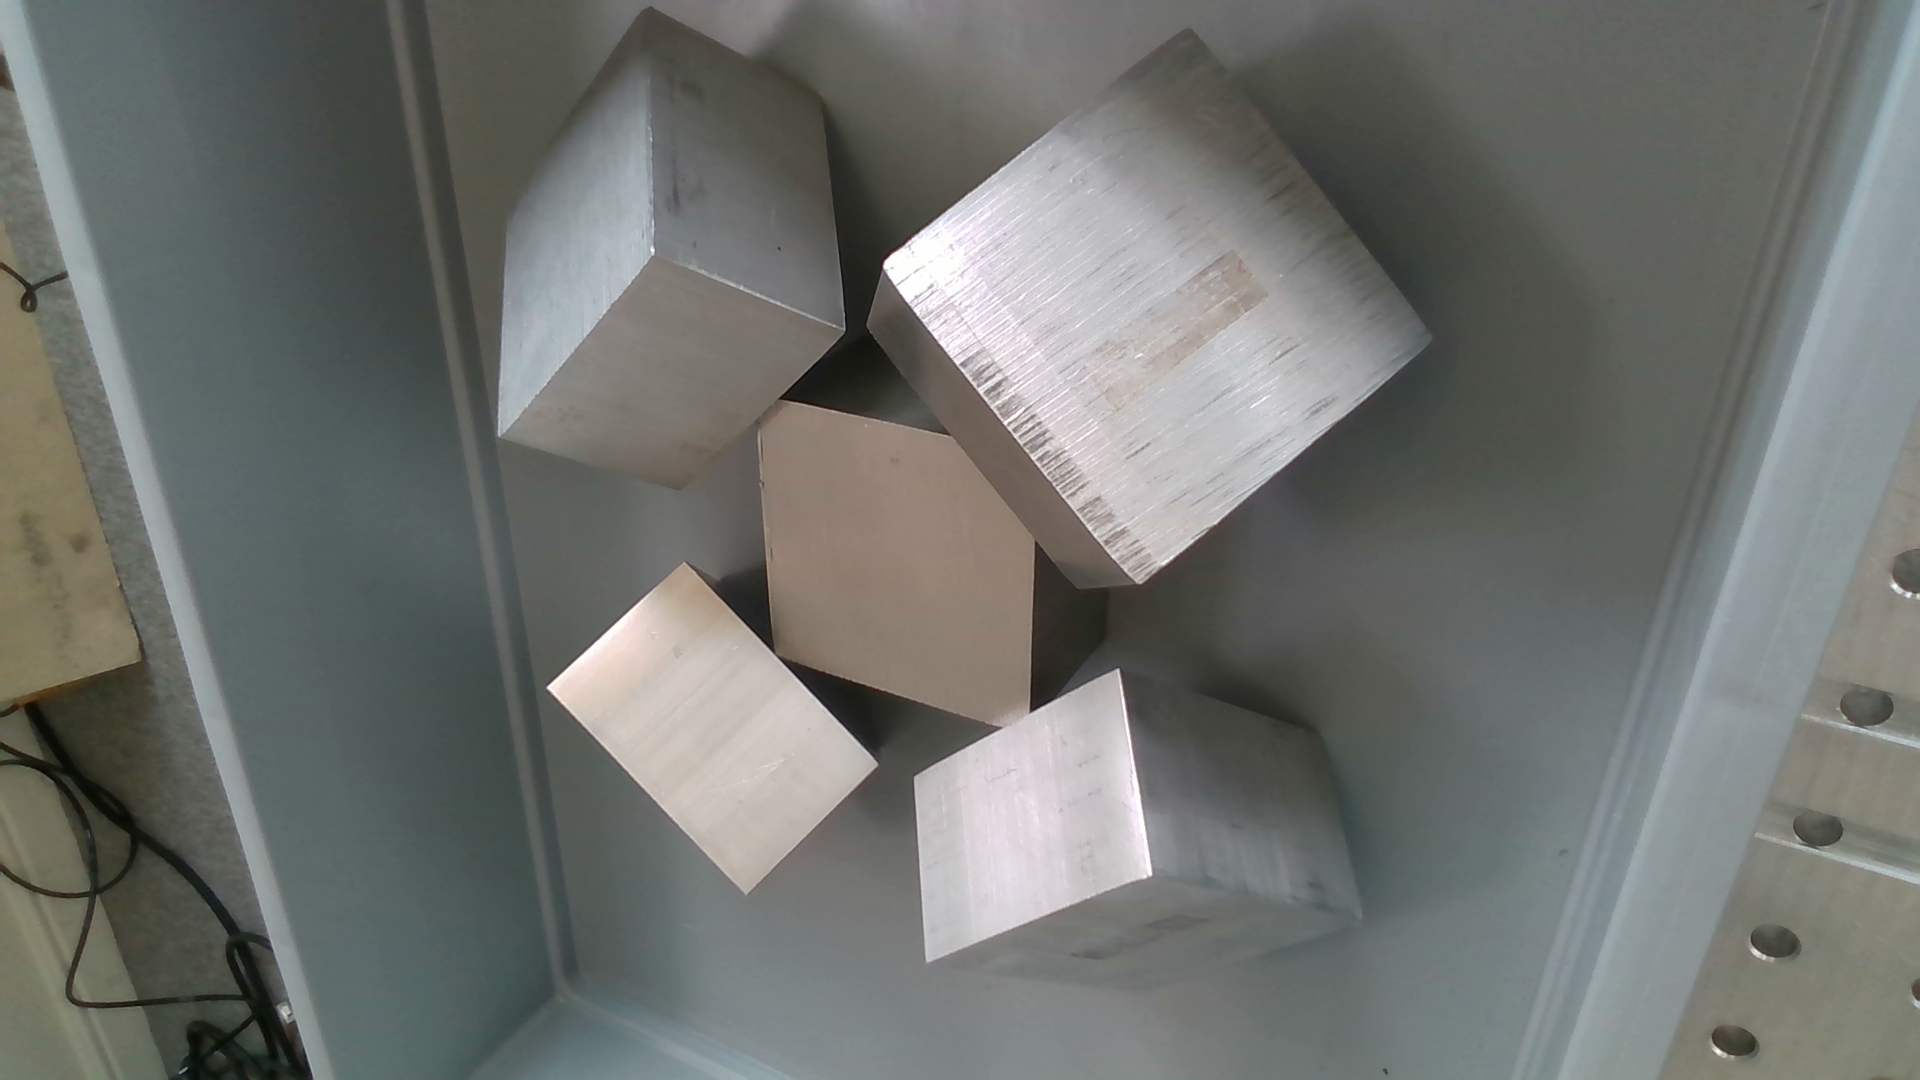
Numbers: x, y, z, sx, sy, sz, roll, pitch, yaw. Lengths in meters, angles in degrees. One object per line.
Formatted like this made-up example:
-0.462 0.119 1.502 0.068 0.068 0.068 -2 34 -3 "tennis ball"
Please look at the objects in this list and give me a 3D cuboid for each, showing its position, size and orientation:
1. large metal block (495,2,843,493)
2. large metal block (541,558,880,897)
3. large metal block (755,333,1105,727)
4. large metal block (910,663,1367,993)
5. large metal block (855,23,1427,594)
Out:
-0.076 -0.071 0.353 0.080 0.050 0.080 -36 50 40 "large metal block"
-0.070 0.054 0.416 0.080 0.050 0.080 46 174 2 "large metal block"
-0.006 -0.004 0.372 0.080 0.050 0.080 15 122 24 "large metal block"
0.044 0.080 0.361 0.080 0.050 0.080 21 140 -35 "large metal block"
0.035 -0.045 0.295 0.080 0.080 0.050 51 173 -2 "large metal block"
